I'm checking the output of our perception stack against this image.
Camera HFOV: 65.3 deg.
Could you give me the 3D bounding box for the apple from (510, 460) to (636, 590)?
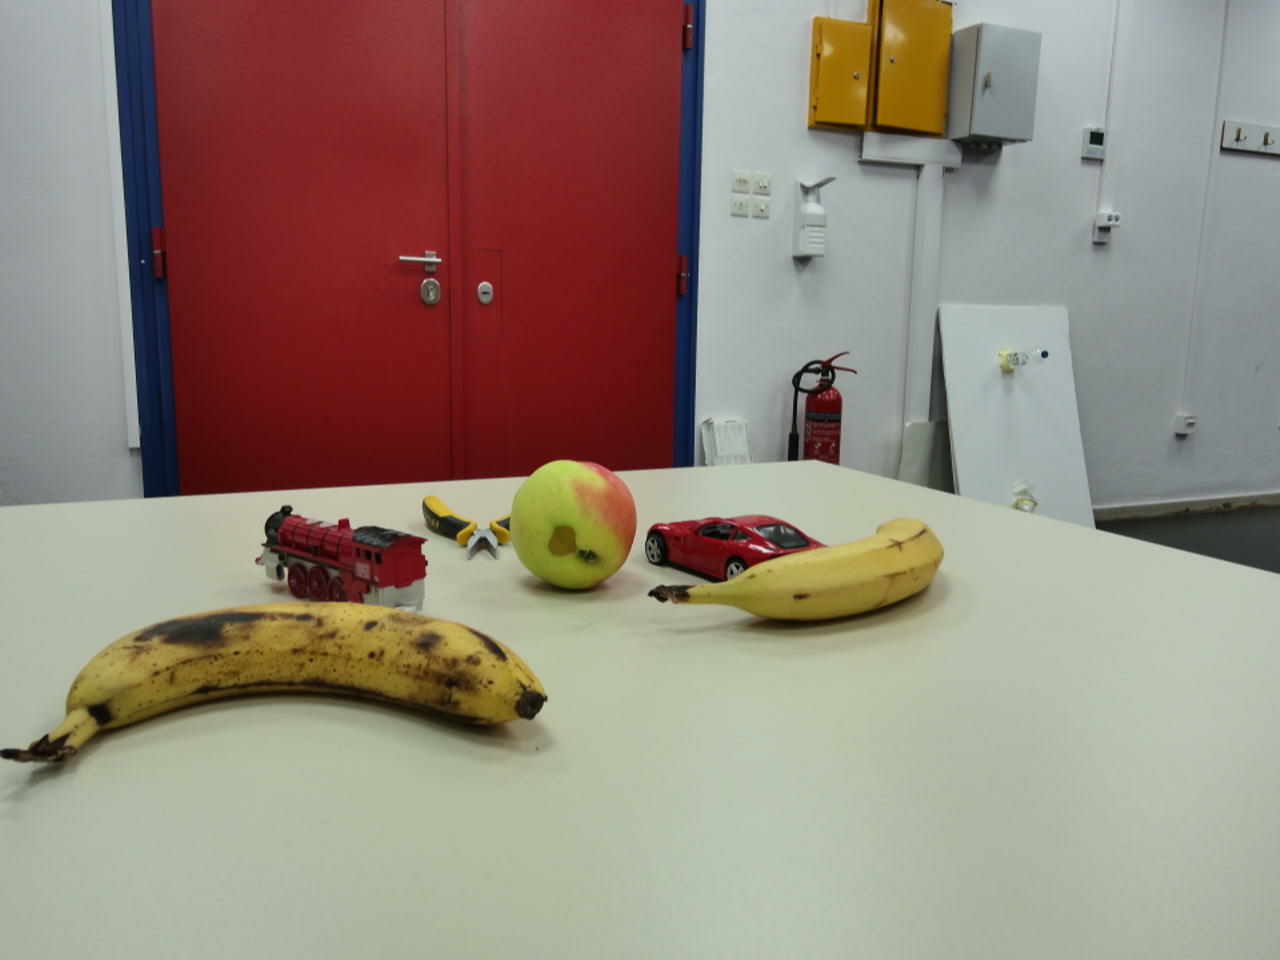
[{"bbox_3d":[-0.038,0.025,0.590,0.075,0.074,0.075,-7,11,-44],"label":"apple"}]
